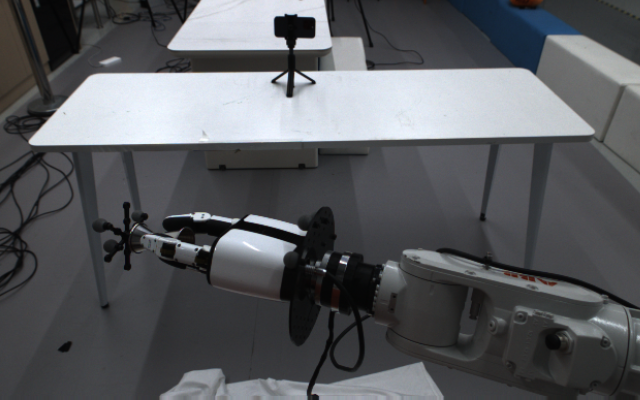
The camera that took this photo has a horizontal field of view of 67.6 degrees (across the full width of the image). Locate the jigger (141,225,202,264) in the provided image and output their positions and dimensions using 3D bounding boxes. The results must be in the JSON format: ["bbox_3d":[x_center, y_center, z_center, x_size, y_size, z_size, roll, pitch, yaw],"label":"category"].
[{"bbox_3d":[-0.189,0.048,0.605,0.071,0.043,0.043,5,34,16],"label":"jigger"}]
